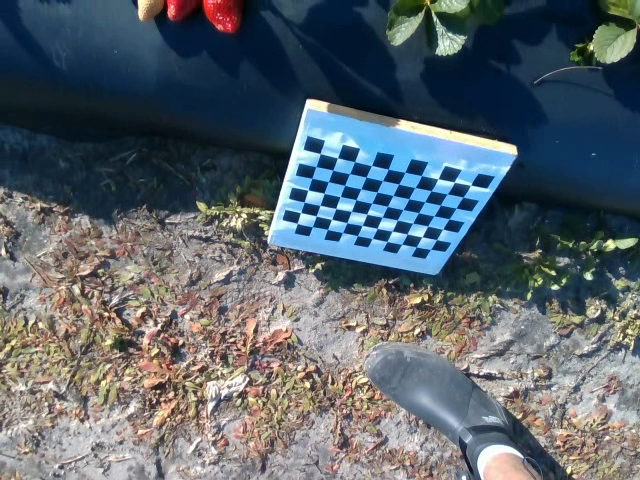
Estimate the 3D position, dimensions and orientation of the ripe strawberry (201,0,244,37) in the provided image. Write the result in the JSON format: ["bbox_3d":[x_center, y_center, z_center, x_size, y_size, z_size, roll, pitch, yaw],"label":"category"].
[{"bbox_3d":[-0.107,-0.268,0.721,0.056,0.067,0.051,-25,-12,27],"label":"ripe strawberry"}]
